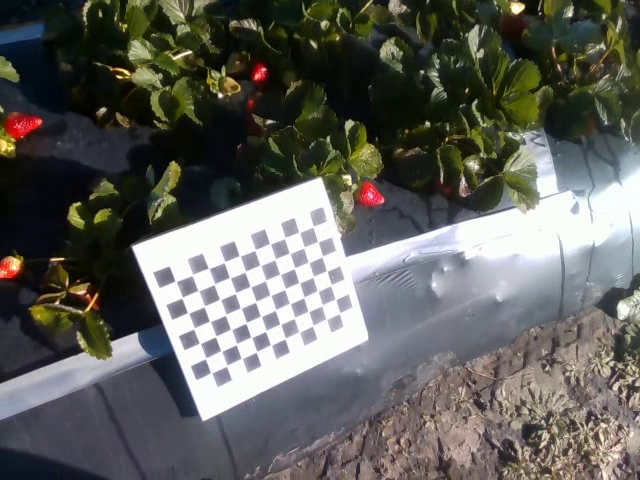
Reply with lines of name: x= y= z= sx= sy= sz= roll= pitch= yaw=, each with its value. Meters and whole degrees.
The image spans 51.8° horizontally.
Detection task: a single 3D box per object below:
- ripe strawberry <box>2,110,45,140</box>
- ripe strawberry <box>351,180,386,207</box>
ripe strawberry: x=-0.452 y=-0.173 z=0.989 sx=0.064 sy=0.049 sz=0.052 roll=-13 pitch=13 yaw=-14
ripe strawberry: x=0.083 y=-0.073 z=1.063 sx=0.055 sy=0.048 sz=0.030 roll=26 pitch=-4 yaw=-26
